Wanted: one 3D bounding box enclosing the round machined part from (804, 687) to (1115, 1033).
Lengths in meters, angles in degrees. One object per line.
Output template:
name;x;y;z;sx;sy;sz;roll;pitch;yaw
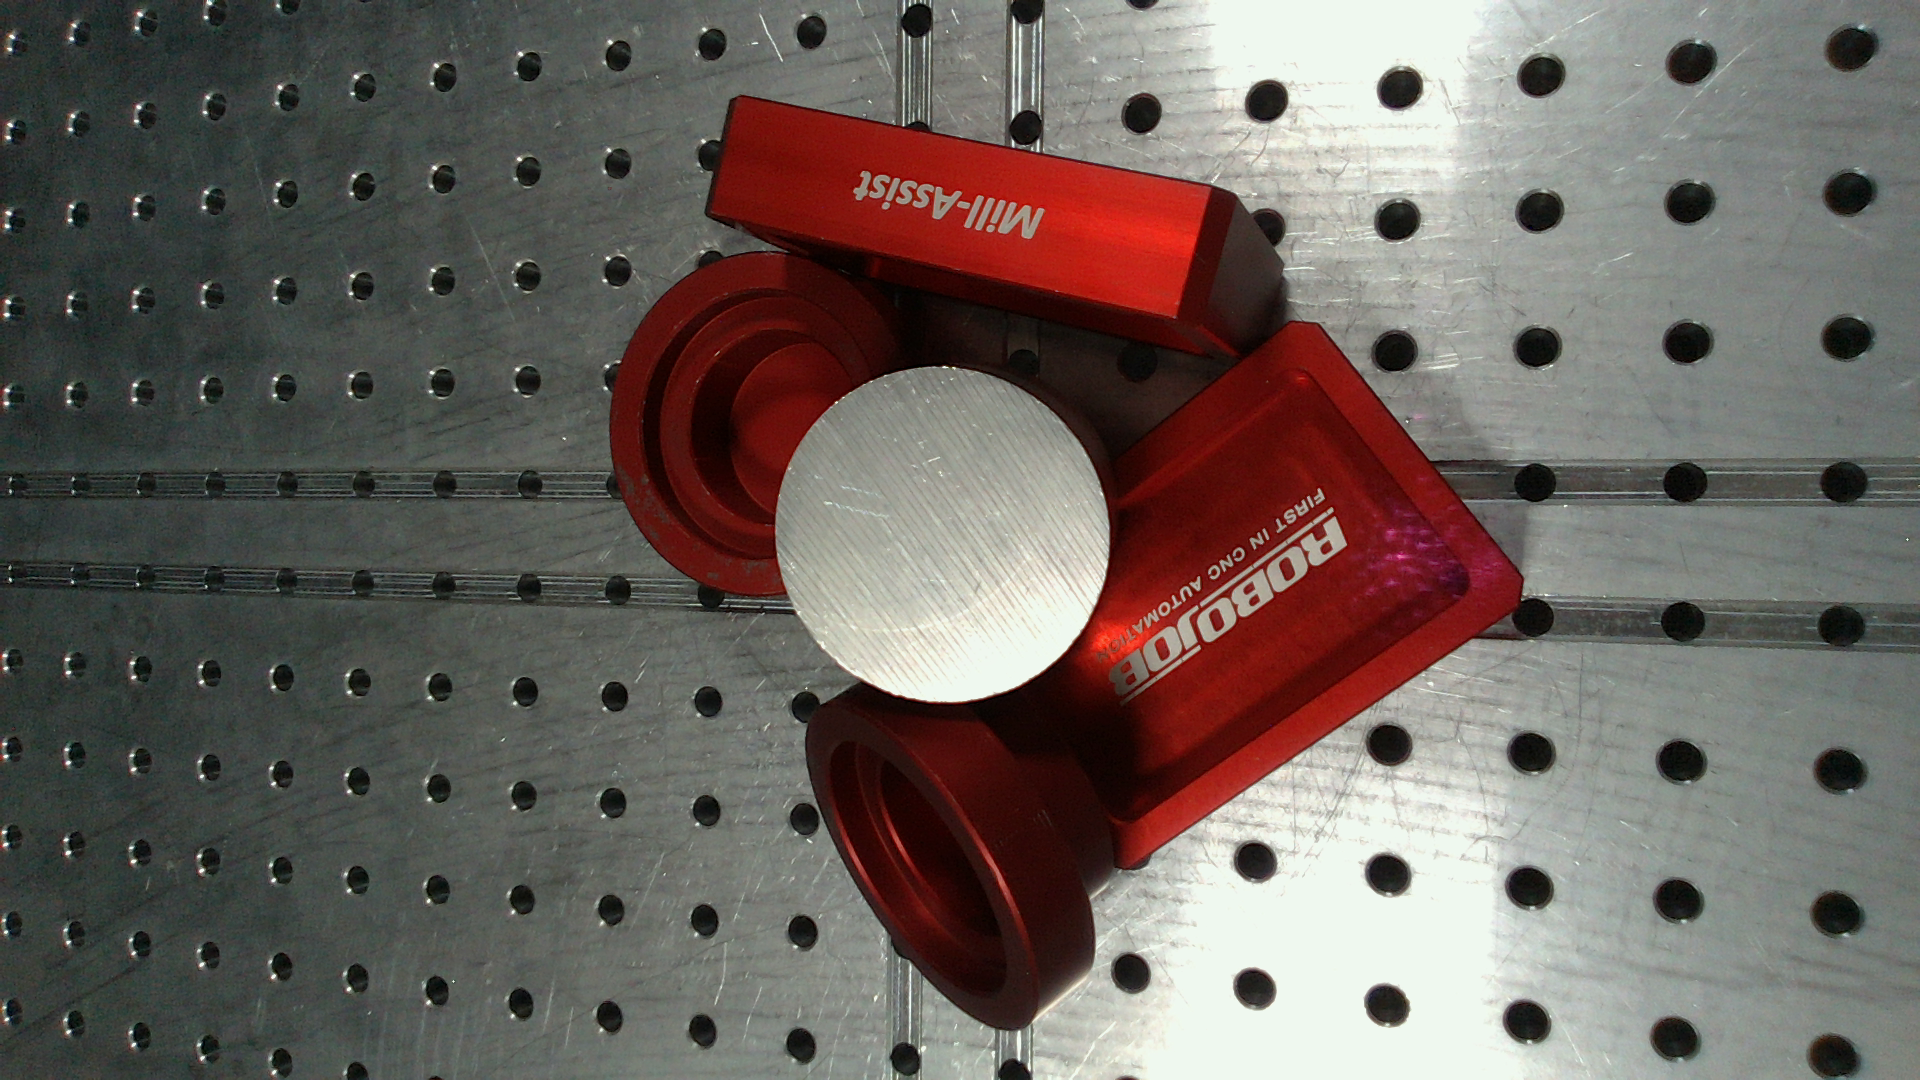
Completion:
round machined part;0.003;0.078;0.370;0.098;0.042;0.098;38;144;35

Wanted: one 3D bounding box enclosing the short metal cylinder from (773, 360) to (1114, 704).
short metal cylinder;-0.001;-0.004;0.346;0.080;0.050;0.080;1;99;8

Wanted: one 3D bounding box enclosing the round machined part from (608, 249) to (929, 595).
round machined part;-0.051;-0.033;0.408;0.098;0.042;0.098;0;90;20

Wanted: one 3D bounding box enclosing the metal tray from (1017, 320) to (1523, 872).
metal tray;0.069;0.016;0.370;0.130;0.030;0.090;-38;78;16

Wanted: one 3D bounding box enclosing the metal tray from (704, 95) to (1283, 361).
metal tray;0.012;-0.078;0.359;0.130;0.090;0.030;16;96;19
